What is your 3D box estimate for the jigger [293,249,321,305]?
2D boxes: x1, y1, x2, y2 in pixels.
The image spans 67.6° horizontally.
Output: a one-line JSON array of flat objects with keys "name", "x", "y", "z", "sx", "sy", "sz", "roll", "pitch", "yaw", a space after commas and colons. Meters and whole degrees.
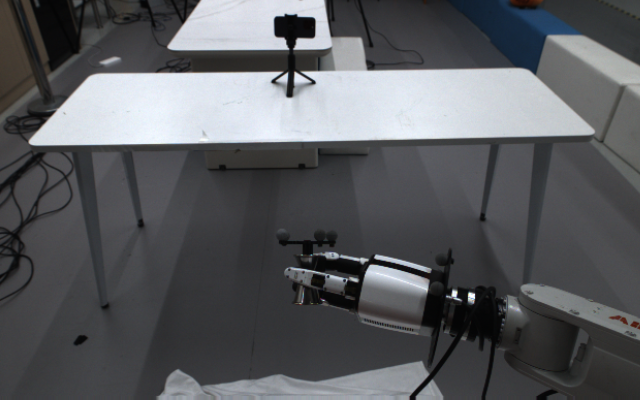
[{"name": "jigger", "x": -0.019, "y": 0.110, "z": 0.679, "sx": 0.043, "sy": 0.071, "sz": 0.043, "roll": 1, "pitch": -5, "yaw": 0}]
